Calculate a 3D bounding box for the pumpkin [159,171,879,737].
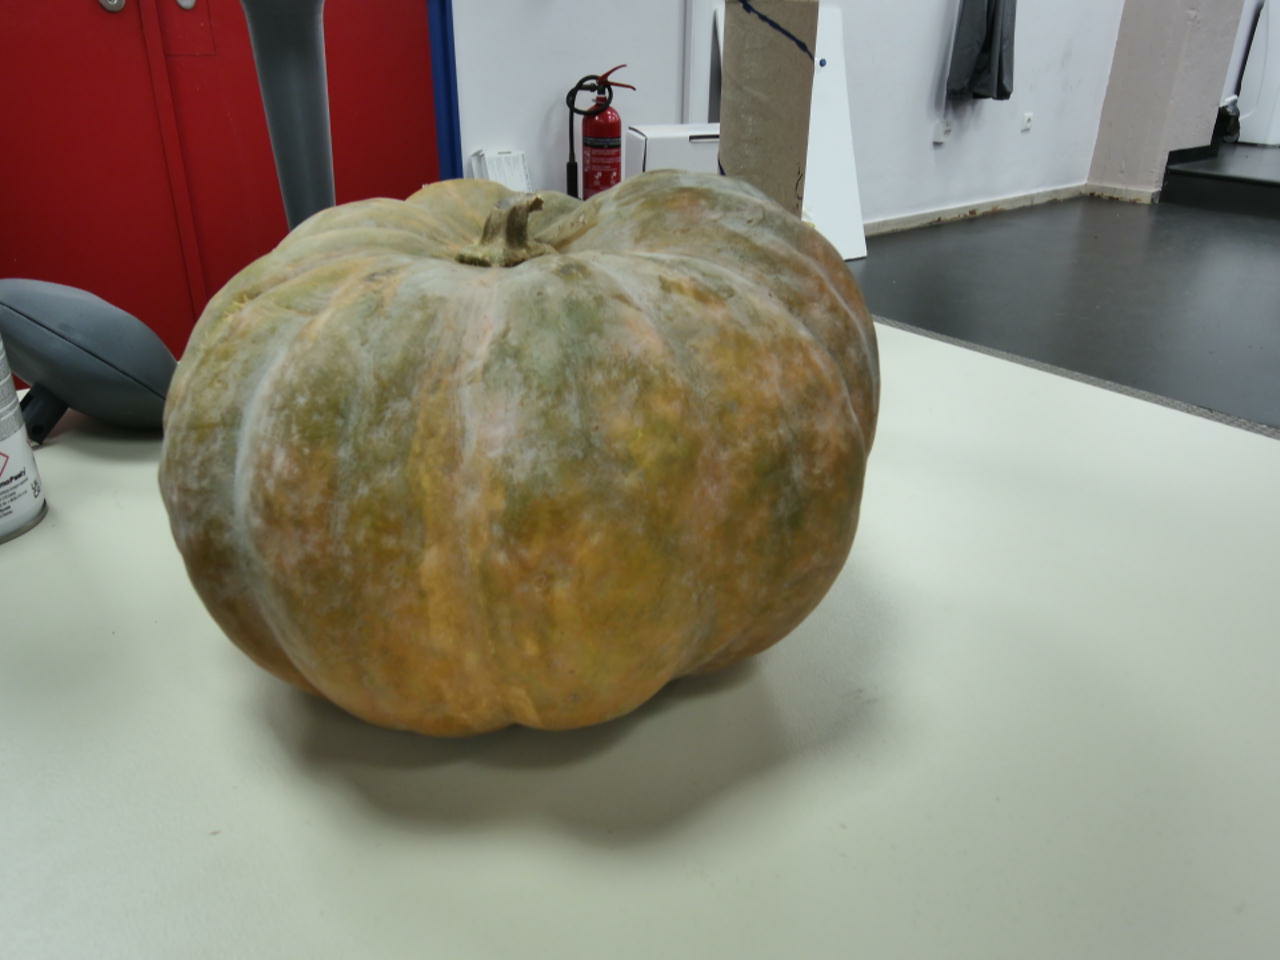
[{"bbox_3d":[-0.040,-0.019,0.358,0.252,0.169,0.251,0,24,0],"label":"pumpkin"}]
